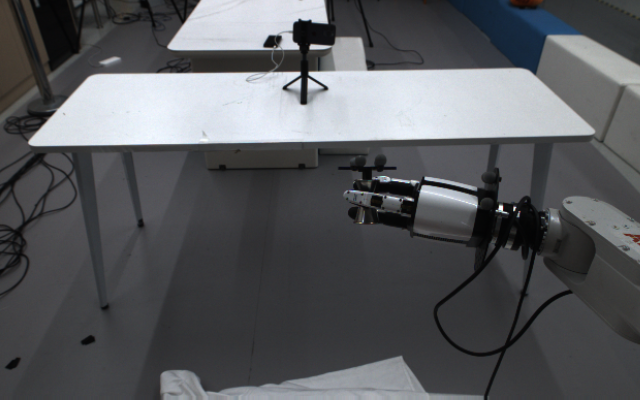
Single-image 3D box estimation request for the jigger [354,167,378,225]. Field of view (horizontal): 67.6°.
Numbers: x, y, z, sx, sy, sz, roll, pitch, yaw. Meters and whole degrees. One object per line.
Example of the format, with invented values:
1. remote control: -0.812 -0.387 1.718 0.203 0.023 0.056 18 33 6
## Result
1. jigger: 0.073 0.001 0.751 0.043 0.071 0.043 -1 2 0
